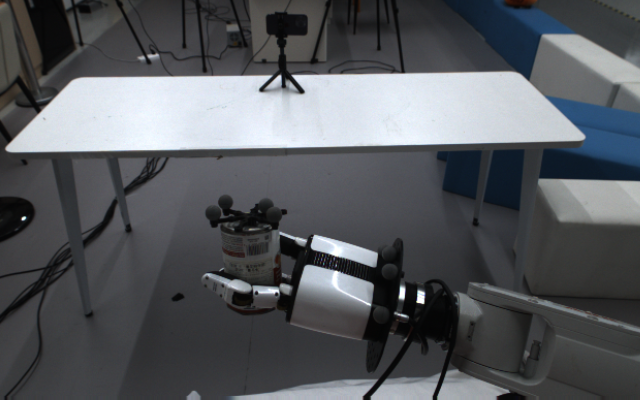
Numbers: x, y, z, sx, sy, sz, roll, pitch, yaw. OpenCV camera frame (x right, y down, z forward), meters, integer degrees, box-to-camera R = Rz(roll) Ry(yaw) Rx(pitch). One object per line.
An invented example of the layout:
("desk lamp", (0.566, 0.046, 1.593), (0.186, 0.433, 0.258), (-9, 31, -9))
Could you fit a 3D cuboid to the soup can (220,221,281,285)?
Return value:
("soup can", (-0.077, 0.074, 0.560), (0.067, 0.101, 0.067), (-1, 16, 0))
